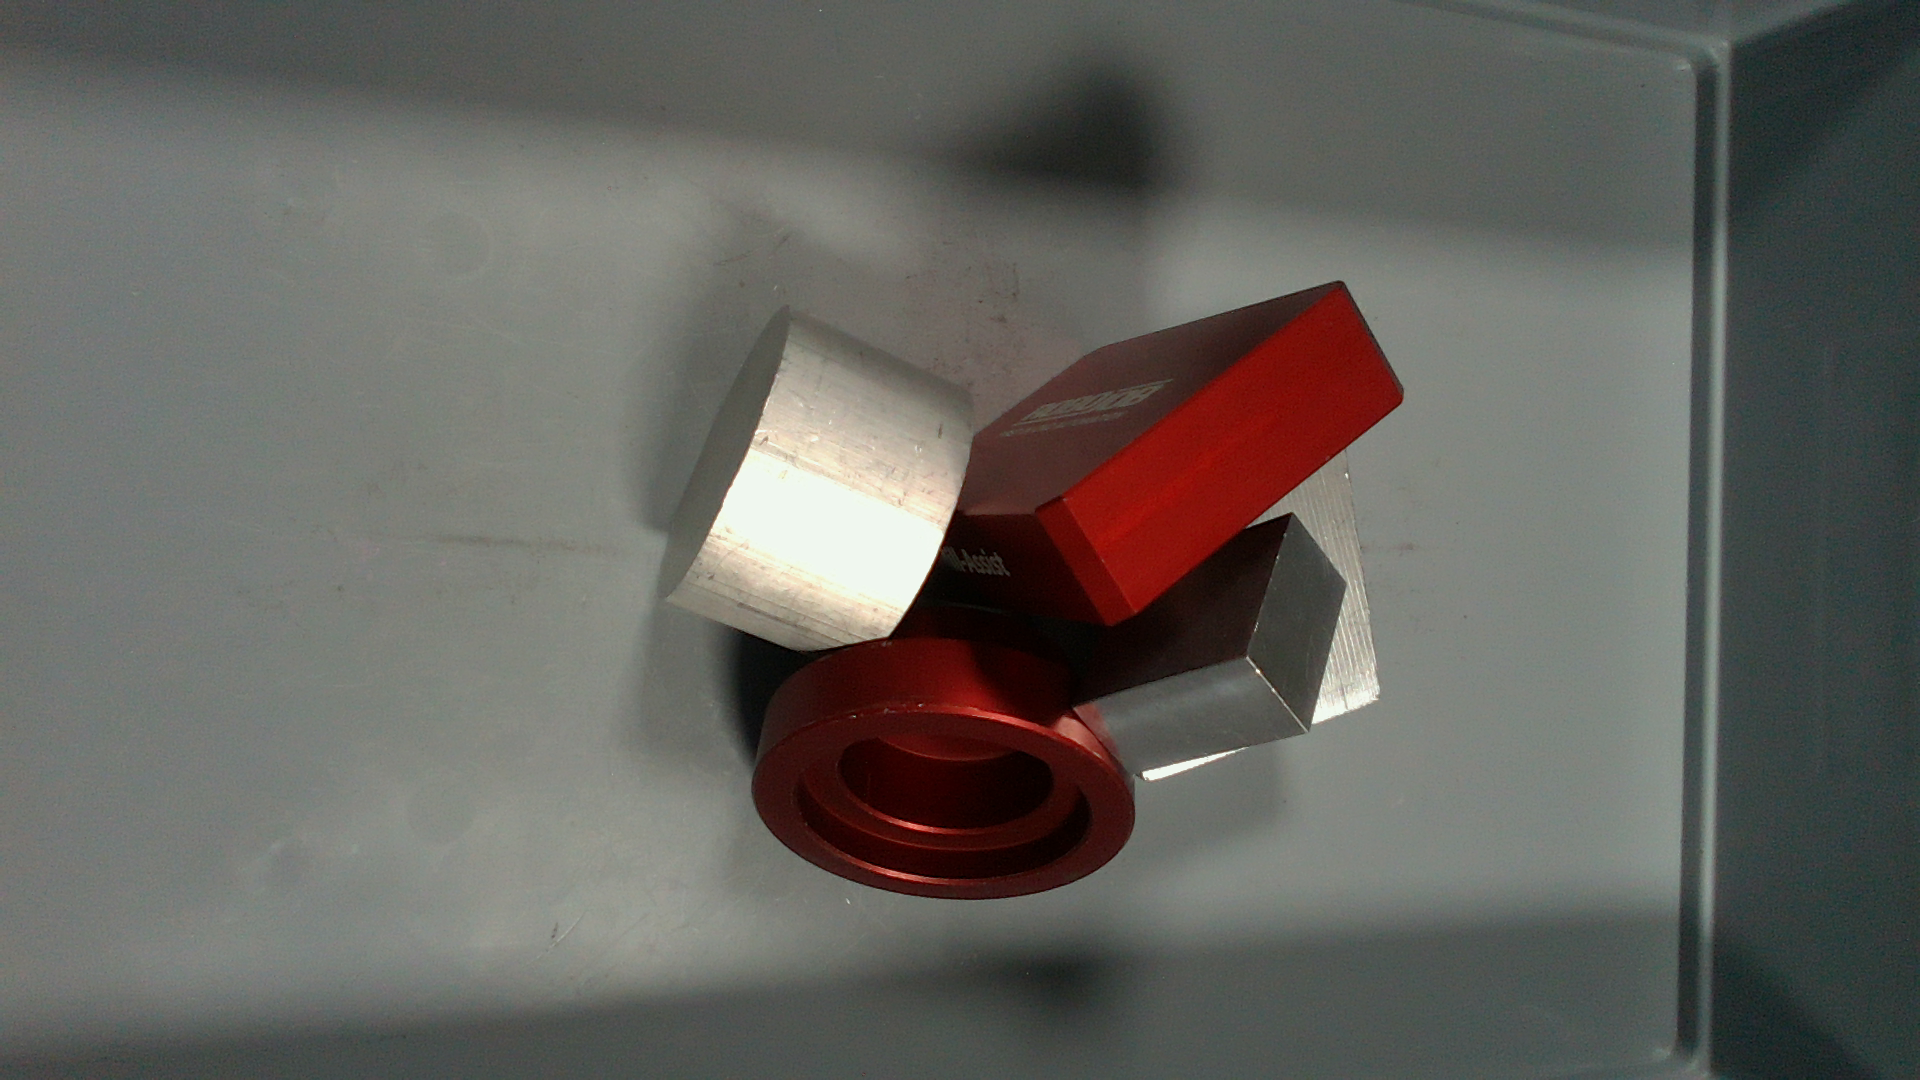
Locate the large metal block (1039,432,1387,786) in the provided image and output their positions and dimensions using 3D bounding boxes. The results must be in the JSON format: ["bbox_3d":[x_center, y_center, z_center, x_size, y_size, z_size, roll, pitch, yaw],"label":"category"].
[{"bbox_3d":[0.068,0.015,0.396,0.080,0.050,0.080,-15,100,-19],"label":"large metal block"}]

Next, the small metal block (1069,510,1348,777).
[{"bbox_3d":[0.060,0.025,0.328,0.025,0.050,0.050,49,43,-20],"label":"small metal block"}]

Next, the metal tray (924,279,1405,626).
[{"bbox_3d":[0.037,-0.021,0.350,0.090,0.130,0.030,-37,103,-16],"label":"metal tray"}]

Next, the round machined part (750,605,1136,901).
[{"bbox_3d":[-0.003,0.054,0.363,0.098,0.098,0.042,22,47,-19],"label":"round machined part"}]

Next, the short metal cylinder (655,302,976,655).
[{"bbox_3d":[-0.038,-0.013,0.349,0.050,0.080,0.080,24,82,-18],"label":"short metal cylinder"}]
